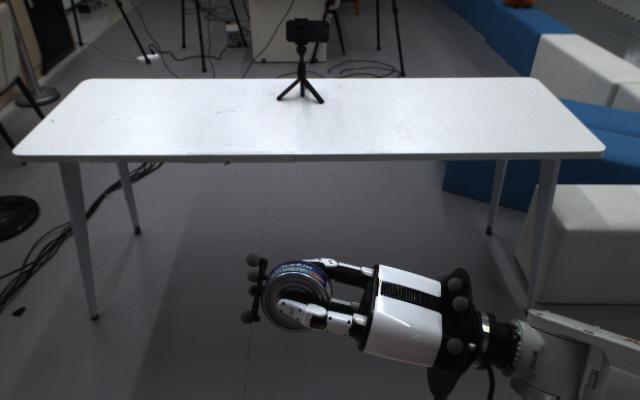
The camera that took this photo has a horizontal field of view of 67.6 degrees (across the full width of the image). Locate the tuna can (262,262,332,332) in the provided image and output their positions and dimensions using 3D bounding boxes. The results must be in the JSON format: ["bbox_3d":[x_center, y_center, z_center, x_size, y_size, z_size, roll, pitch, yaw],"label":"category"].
[{"bbox_3d":[-0.025,0.122,0.593,0.085,0.085,0.034,4,18,3],"label":"tuna can"}]
